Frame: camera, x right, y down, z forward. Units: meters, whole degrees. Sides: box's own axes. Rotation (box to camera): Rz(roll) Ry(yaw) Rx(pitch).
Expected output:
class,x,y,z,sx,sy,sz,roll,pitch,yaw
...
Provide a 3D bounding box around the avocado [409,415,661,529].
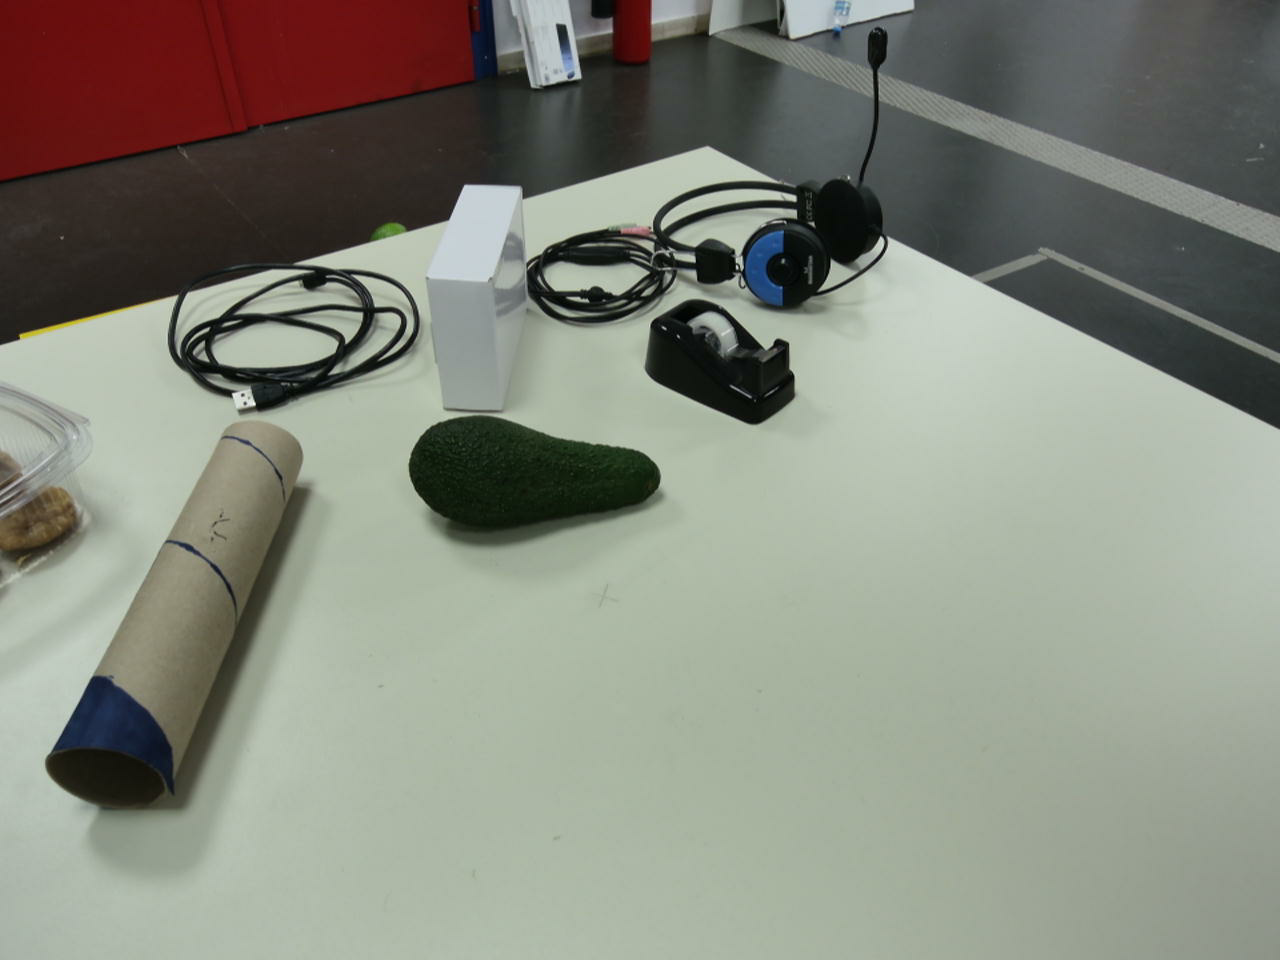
class,x,y,z,sx,sy,sz,roll,pitch,yaw
avocado,-0.057,-0.012,0.564,0.141,0.067,0.063,-13,41,-18
